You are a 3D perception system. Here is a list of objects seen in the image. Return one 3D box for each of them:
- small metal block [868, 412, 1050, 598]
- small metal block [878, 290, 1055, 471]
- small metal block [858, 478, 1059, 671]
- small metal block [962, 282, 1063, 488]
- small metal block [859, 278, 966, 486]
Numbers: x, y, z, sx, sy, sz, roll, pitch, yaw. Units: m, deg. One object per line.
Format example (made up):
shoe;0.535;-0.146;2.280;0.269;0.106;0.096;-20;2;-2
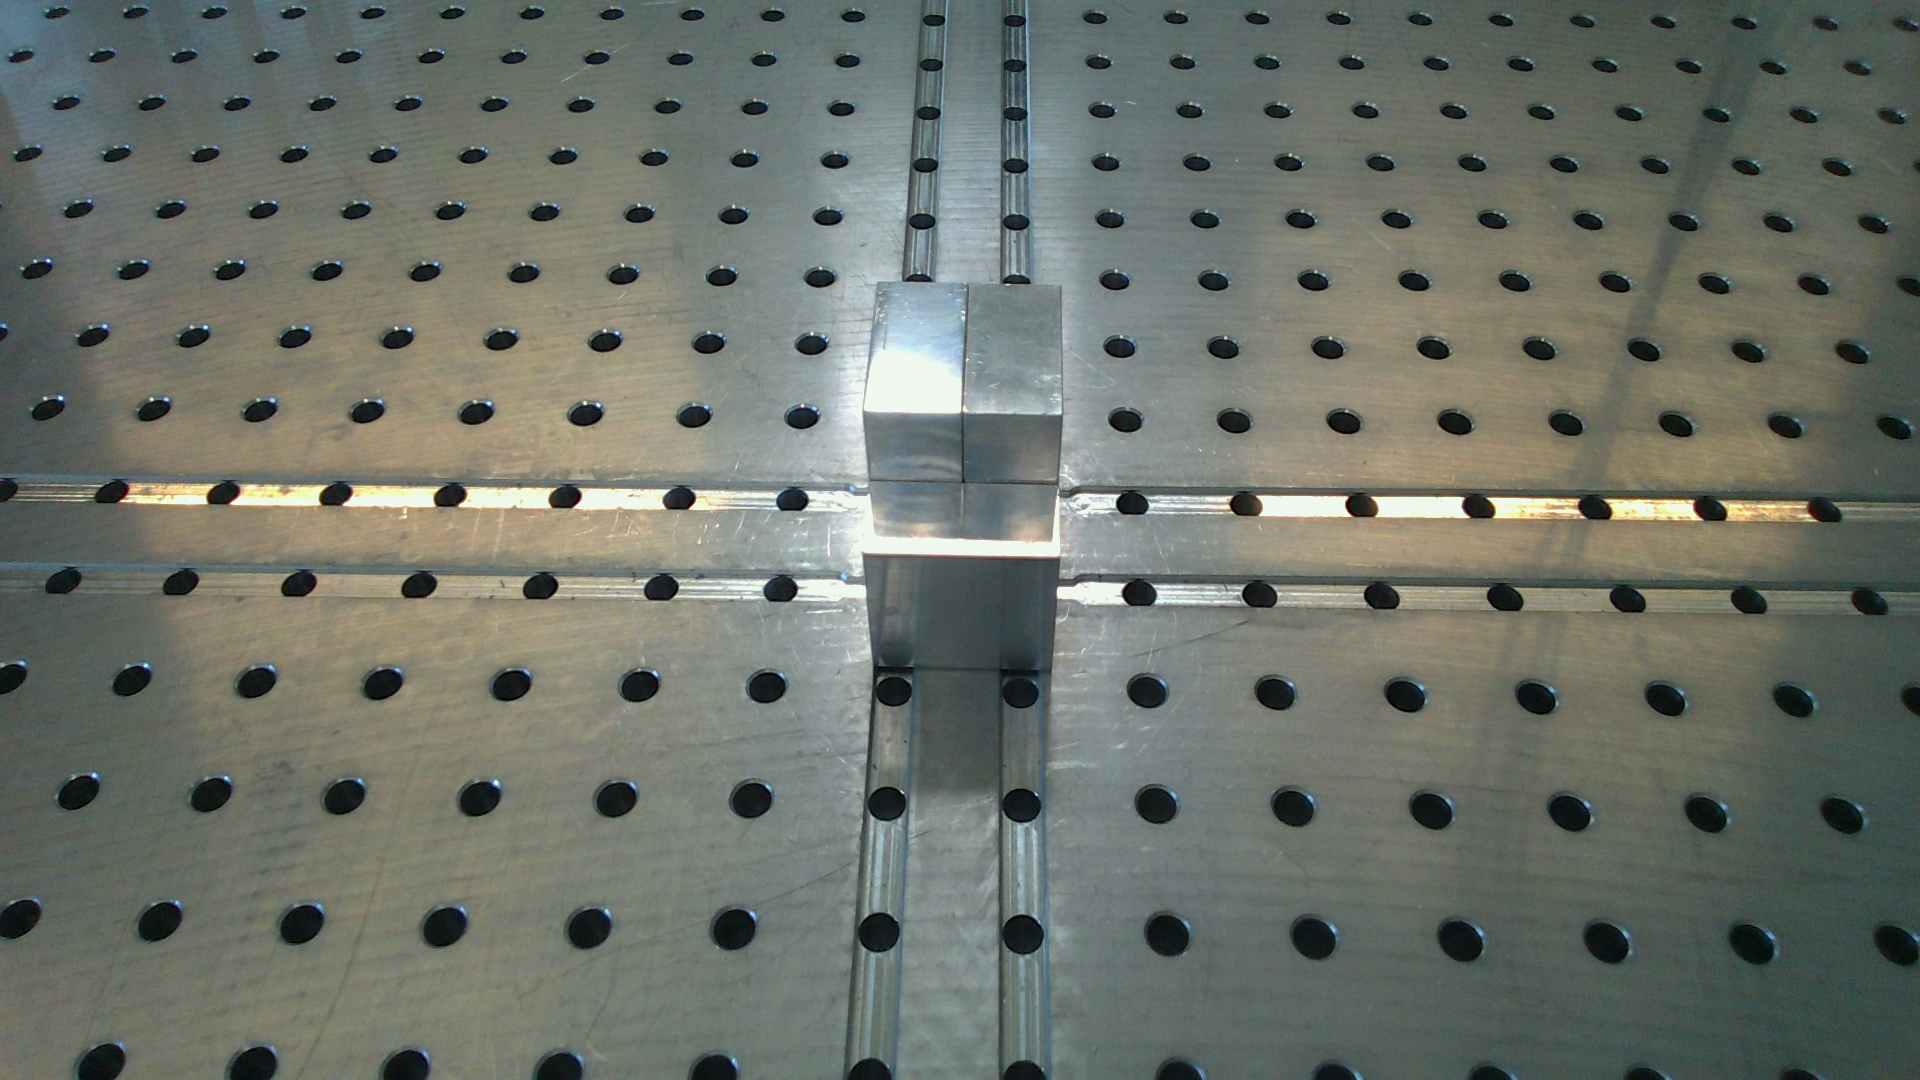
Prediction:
small metal block;0.001;-0.011;0.403;0.050;0.025;0.050;0;50;2
small metal block;0.002;-0.048;0.417;0.050;0.050;0.025;1;50;1
small metal block;0.000;0.010;0.369;0.050;0.050;0.025;1;50;1
small metal block;0.015;-0.034;0.374;0.025;0.050;0.050;1;50;2
small metal block;-0.012;-0.035;0.375;0.025;0.050;0.050;1;50;1
